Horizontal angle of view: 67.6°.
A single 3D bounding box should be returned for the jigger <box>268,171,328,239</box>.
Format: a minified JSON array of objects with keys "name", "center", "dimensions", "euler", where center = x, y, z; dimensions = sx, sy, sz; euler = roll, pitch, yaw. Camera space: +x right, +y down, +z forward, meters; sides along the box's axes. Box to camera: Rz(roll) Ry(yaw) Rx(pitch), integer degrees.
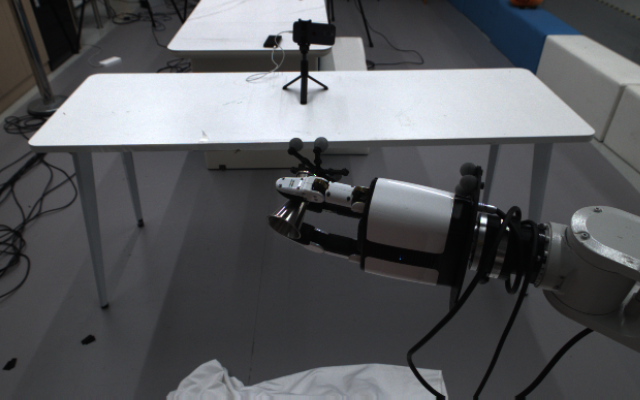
[{"name":"jigger","center":[-0.026,0.001,0.552],"dimensions":[0.043,0.043,0.071],"euler":[19,62,23]}]
